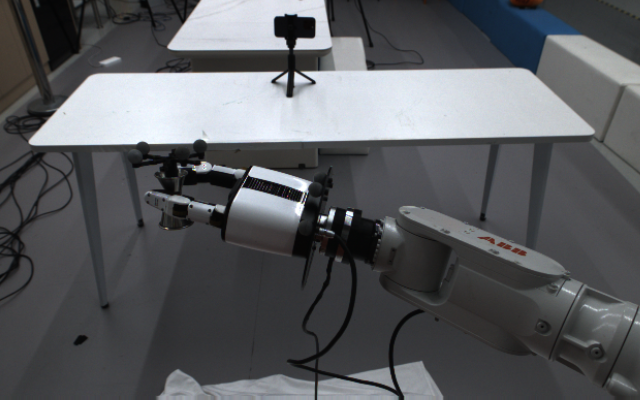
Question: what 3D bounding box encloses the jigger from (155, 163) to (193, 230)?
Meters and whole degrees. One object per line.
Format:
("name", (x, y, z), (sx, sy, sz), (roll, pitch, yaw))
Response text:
("jigger", (-0.183, -0.001, 0.610), (0.043, 0.071, 0.043), (0, 22, 0))
